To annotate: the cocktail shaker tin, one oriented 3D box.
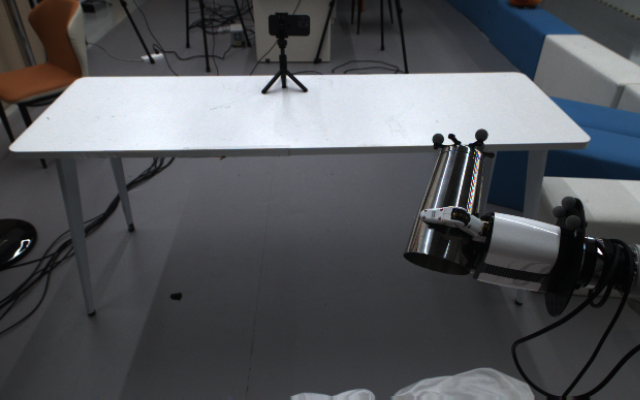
[{"bbox_3d":[0.184,0.010,0.689,0.093,0.093,0.170,14,73,16],"label":"cocktail shaker tin"}]
